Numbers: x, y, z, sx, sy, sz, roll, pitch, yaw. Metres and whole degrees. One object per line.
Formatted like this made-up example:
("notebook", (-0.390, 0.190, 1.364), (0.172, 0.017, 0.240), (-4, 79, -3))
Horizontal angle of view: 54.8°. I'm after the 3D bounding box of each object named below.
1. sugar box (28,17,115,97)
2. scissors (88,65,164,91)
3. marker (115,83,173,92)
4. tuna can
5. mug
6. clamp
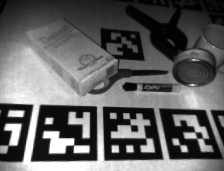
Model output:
("sugar box", (-0.085, -0.067, 0.441), (0.093, 0.045, 0.174), (-32, 62, -27))
("scissors", (0.020, -0.034, 0.460), (0.204, 0.016, 0.087), (-6, 55, -17))
("marker", (0.066, 0.004, 0.448), (0.122, 0.019, 0.019), (-1, 58, -11))
("tuna can", (0.170, -0.039, 0.457), (0.086, 0.086, 0.034), (16, 55, 0))
("mug", (0.226, -0.078, 0.500), (0.094, 0.081, 0.116), (-22, 60, -23))
("clamp", (0.129, -0.142, 0.558), (0.166, 0.036, 0.201), (-6, 60, -16))
